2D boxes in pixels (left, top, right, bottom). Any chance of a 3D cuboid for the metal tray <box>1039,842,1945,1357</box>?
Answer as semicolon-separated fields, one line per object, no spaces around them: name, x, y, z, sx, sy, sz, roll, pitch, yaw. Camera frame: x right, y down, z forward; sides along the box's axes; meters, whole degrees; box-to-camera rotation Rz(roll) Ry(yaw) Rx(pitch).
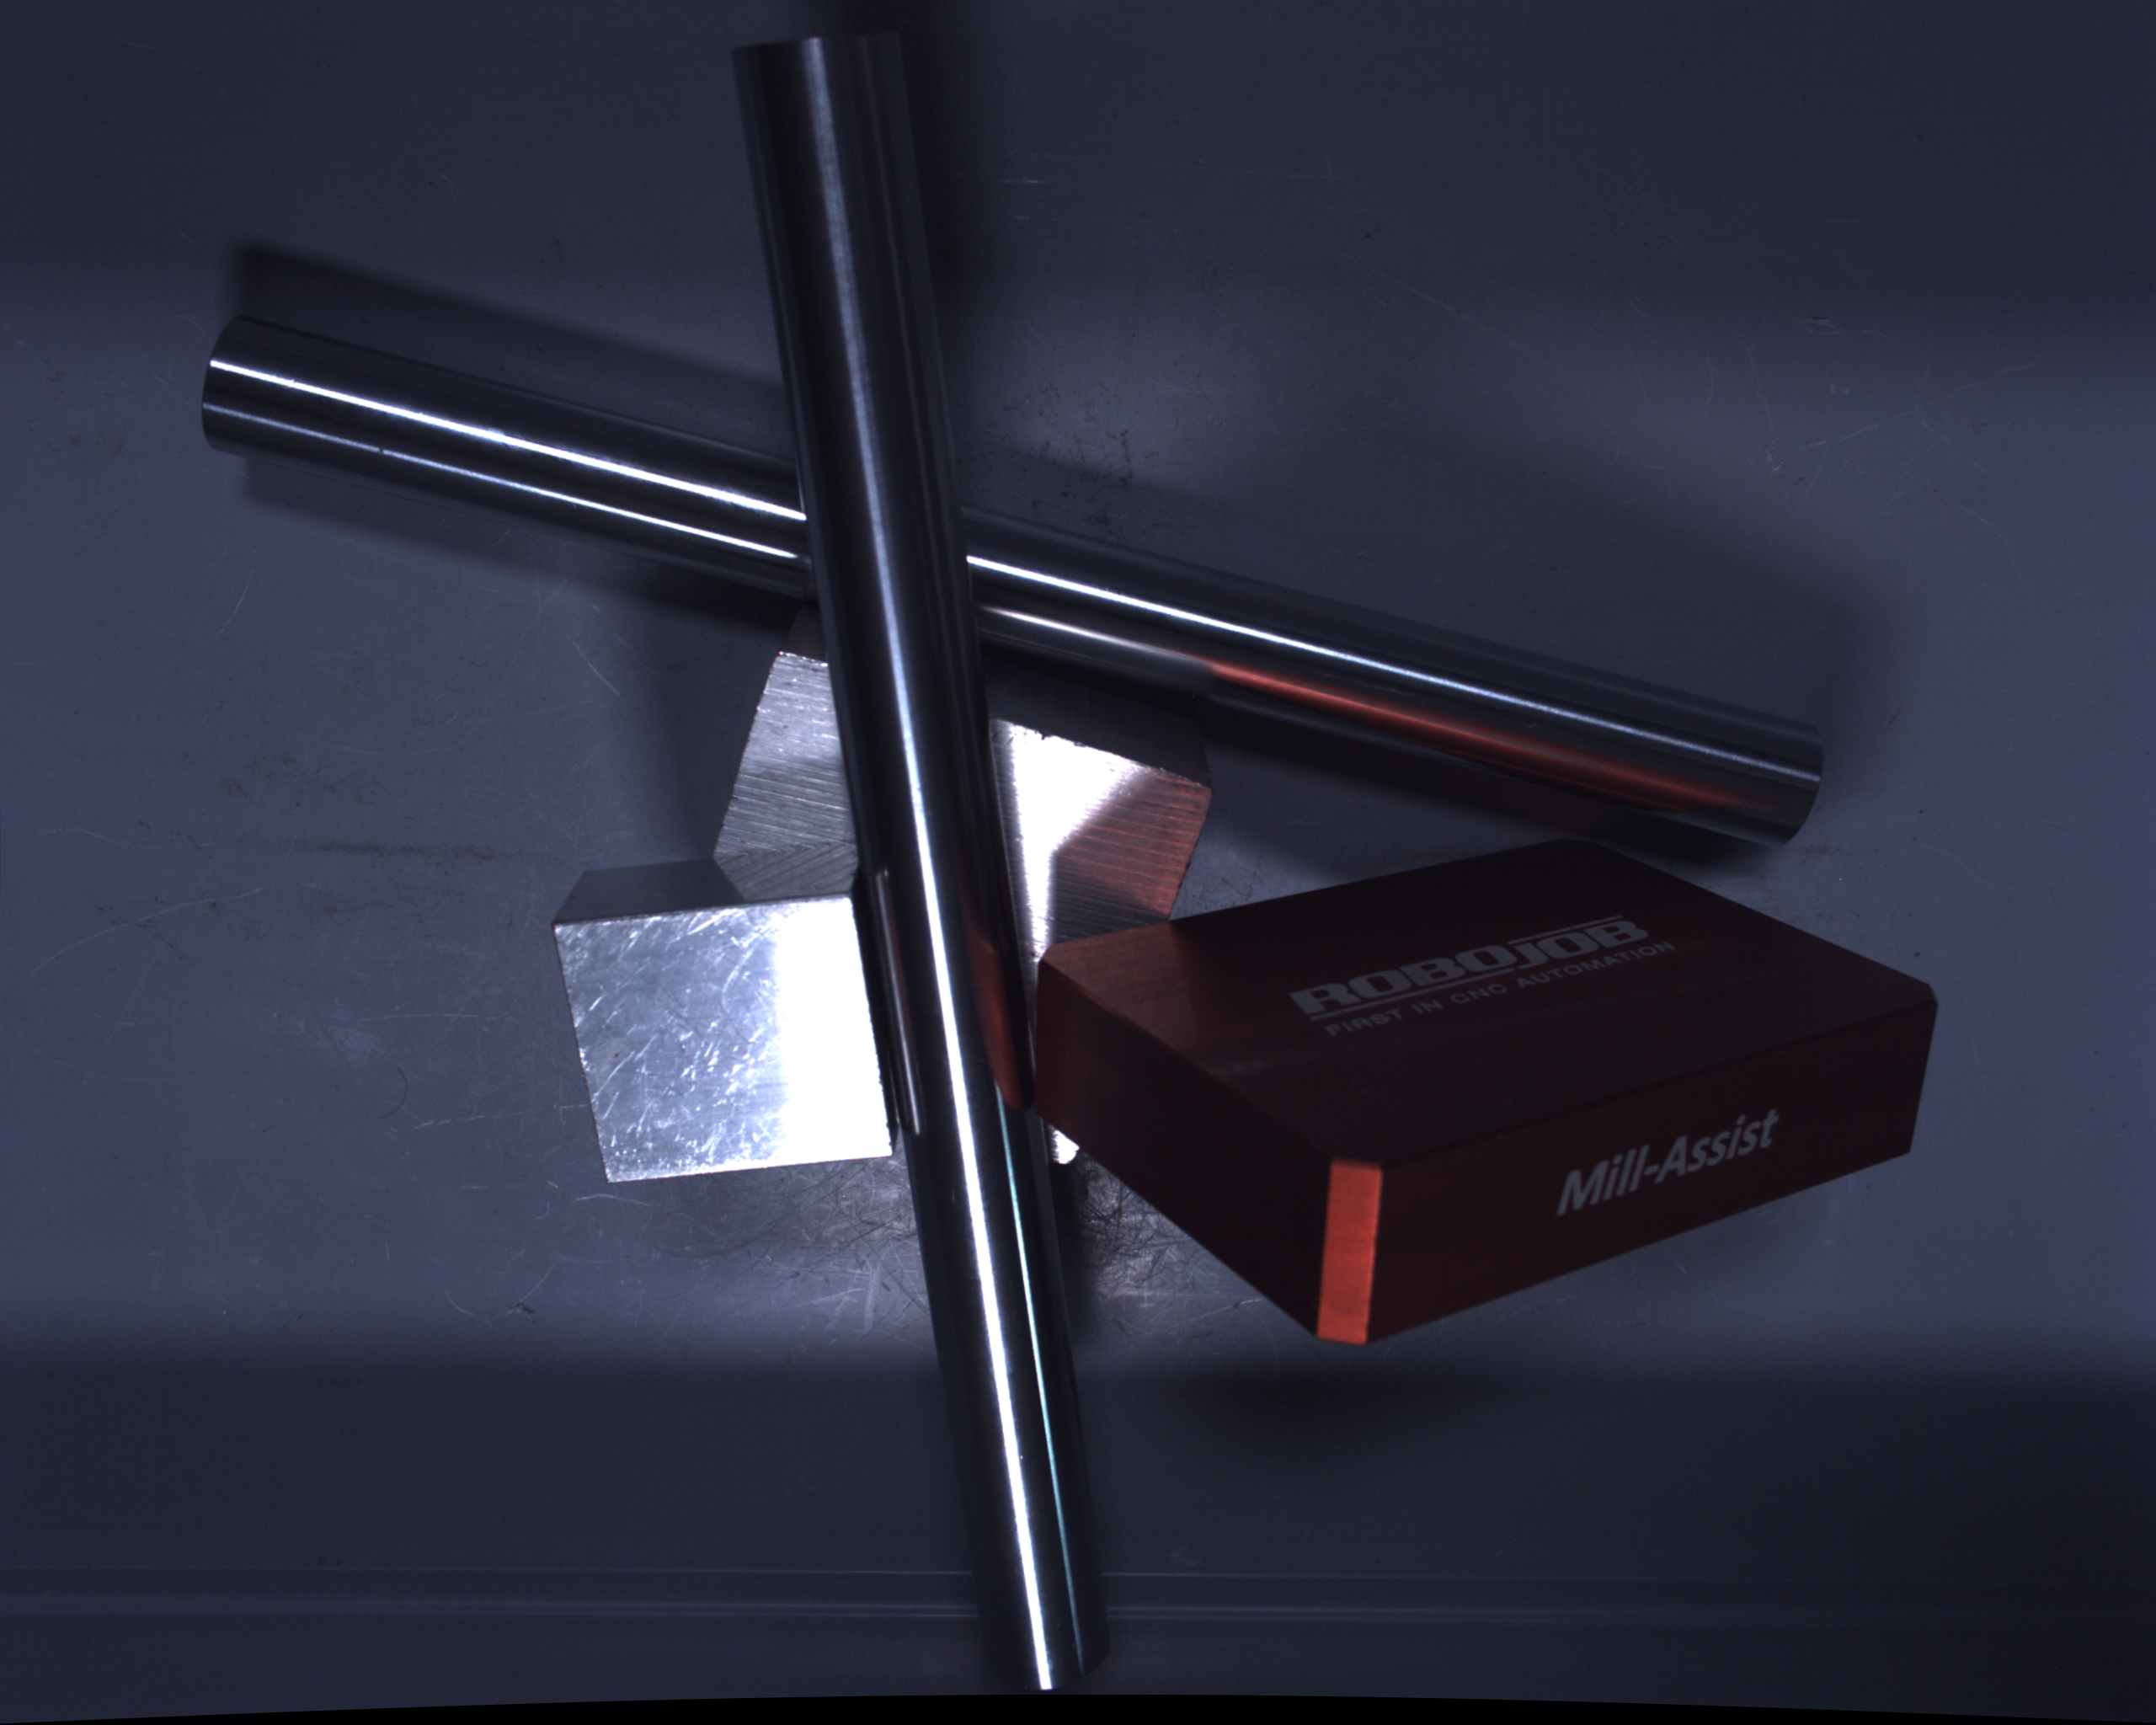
metal tray;0.070;0.034;0.360;0.131;0.090;0.030;-11;114;-30

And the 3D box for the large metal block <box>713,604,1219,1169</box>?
large metal block;-0.026;0.002;0.397;0.080;0.050;0.079;17;109;-7

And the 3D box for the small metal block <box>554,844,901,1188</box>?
small metal block;-0.059;0.026;0.365;0.050;0.025;0.050;-6;110;1

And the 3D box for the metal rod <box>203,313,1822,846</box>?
metal rod;-0.007;-0.051;0.392;0.302;0.025;0.025;14;110;-6

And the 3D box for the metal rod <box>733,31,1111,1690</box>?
metal rod;-0.022;0.016;0.362;0.025;0.025;0.298;-6;110;2
